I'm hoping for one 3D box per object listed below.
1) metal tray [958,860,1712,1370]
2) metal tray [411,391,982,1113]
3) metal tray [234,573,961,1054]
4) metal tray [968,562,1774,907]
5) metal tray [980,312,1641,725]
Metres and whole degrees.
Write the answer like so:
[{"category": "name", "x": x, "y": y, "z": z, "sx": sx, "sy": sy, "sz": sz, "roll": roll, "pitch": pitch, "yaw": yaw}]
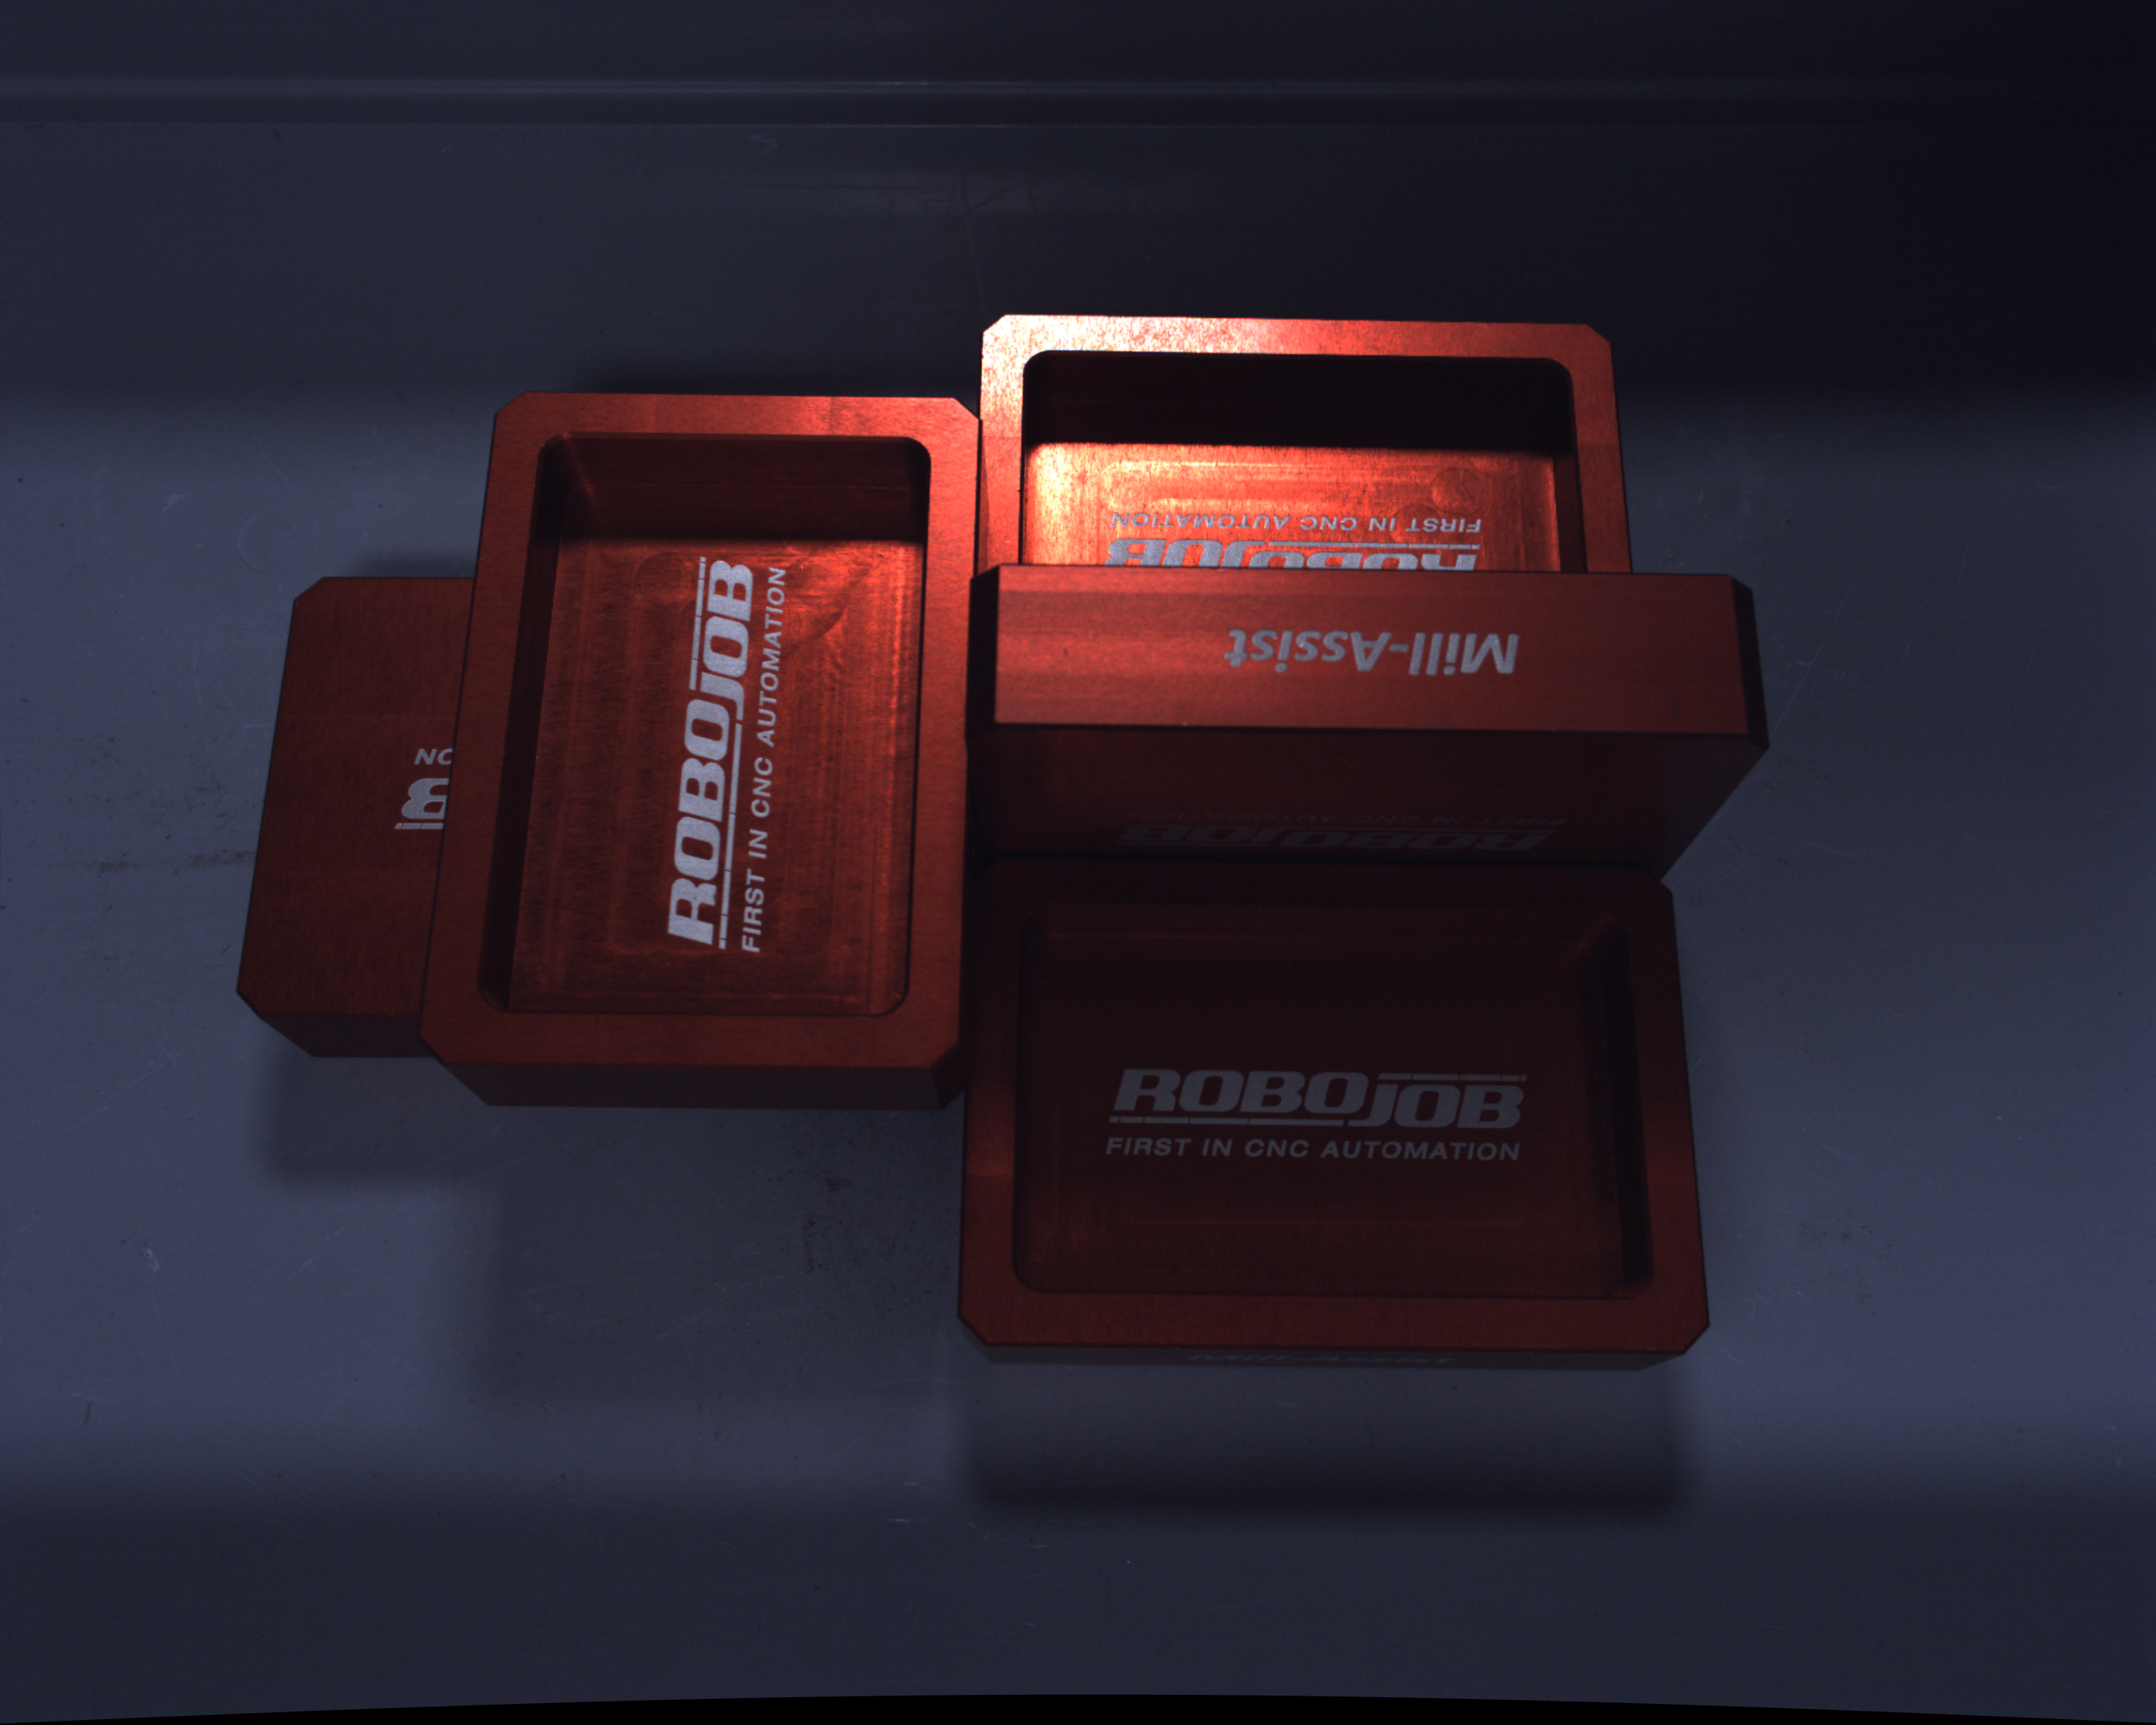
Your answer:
[{"category": "metal tray", "x": 0.045, "y": 0.047, "z": 0.388, "sx": 0.131, "sy": 0.030, "sz": 0.090, "roll": 1, "pitch": 70, "yaw": 0}, {"category": "metal tray", "x": -0.064, "y": -0.022, "z": 0.380, "sx": 0.091, "sy": 0.030, "sz": 0.130, "roll": 1, "pitch": 70, "yaw": 0}, {"category": "metal tray", "x": -0.088, "y": -0.009, "z": 0.406, "sx": 0.131, "sy": 0.030, "sz": 0.090, "roll": 0, "pitch": 70, "yaw": -1}, {"category": "metal tray", "x": 0.048, "y": -0.020, "z": 0.380, "sx": 0.131, "sy": 0.090, "sz": 0.030, "roll": 1, "pitch": 70, "yaw": 0}, {"category": "metal tray", "x": 0.045, "y": -0.066, "z": 0.430, "sx": 0.131, "sy": 0.030, "sz": 0.090, "roll": 1, "pitch": 70, "yaw": 0}]
